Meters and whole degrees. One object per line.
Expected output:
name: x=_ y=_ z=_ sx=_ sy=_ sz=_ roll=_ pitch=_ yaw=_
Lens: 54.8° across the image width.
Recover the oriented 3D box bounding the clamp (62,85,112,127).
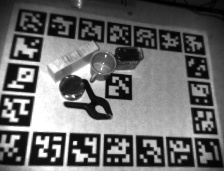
clamp: x=-0.070 y=0.088 z=0.737 sx=0.165 sy=0.036 sz=0.122 roll=38 pitch=64 yaw=-4

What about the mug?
mug: x=-0.047 y=-0.042 z=0.750 sx=0.093 sy=0.081 sz=0.117 roll=27 pitch=70 yaw=-3

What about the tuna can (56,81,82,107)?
tuna can: x=-0.145 y=0.030 z=0.733 sx=0.086 sy=0.033 sz=0.085 roll=4 pitch=73 yaw=-11

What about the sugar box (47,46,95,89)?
sugar box: x=-0.139 y=-0.060 z=0.739 sx=0.177 sy=0.092 sz=0.045 roll=-35 pitch=80 yaw=-22

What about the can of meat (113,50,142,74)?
can of meat: x=0.049 y=-0.083 z=0.794 sx=0.102 sy=0.083 sz=0.057 roll=-5 pitch=72 yaw=-15
